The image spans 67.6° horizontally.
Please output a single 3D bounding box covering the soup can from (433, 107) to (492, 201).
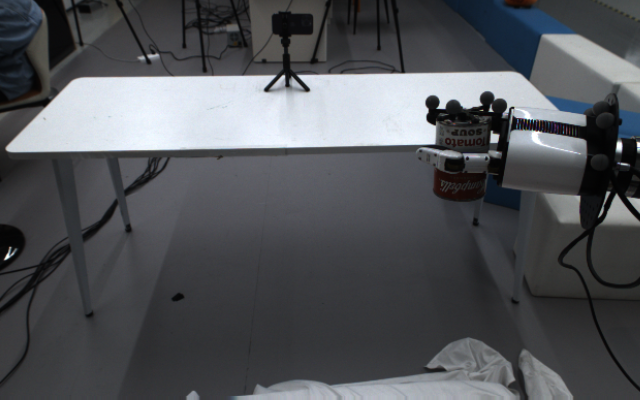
[{"bbox_3d":[0.182,-0.058,0.617,0.067,0.101,0.067,-3,25,2],"label":"soup can"}]
